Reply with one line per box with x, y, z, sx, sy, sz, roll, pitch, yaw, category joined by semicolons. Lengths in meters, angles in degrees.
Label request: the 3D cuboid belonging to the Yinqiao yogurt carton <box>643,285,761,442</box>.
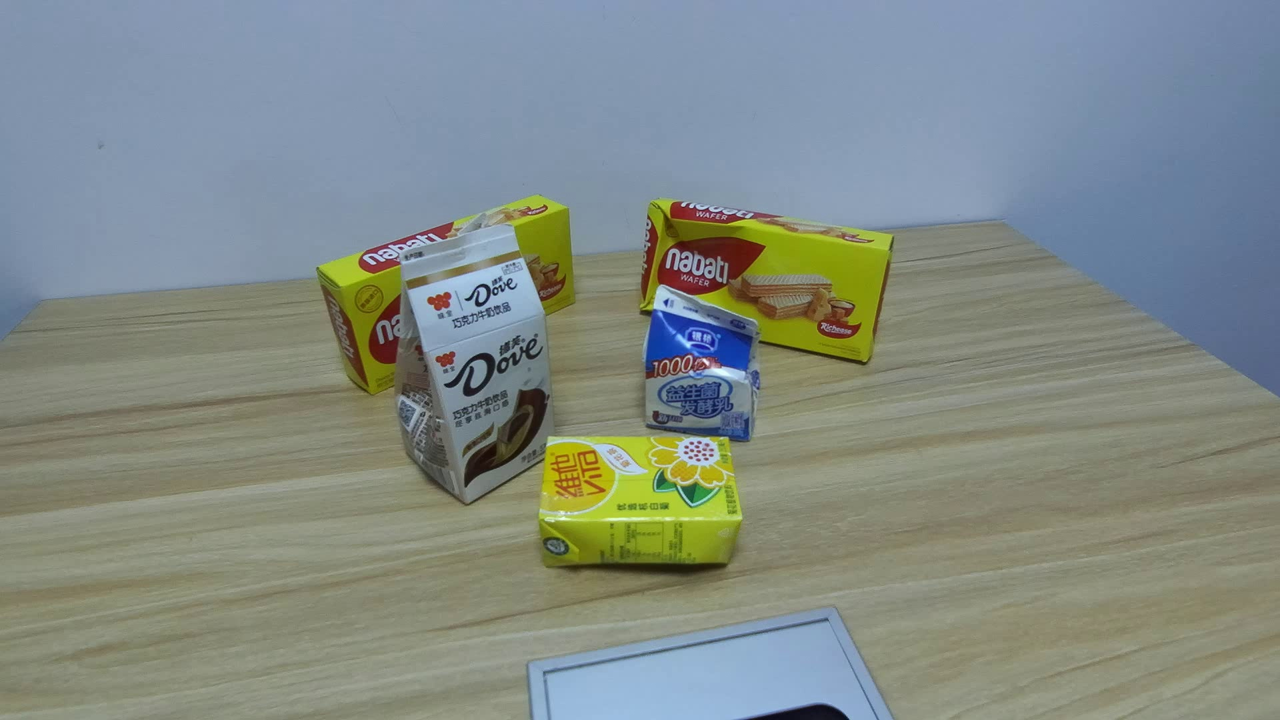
0.043;-0.007;0.482;0.083;0.093;0.077;8;35;11;Yinqiao yogurt carton

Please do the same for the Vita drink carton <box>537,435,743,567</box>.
-0.001;0.082;0.399;0.109;0.043;0.076;0;37;-2;Vita drink carton

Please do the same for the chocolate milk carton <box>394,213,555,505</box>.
-0.107;-0.003;0.426;0.084;0.155;0.072;-29;44;-36;chocolate milk carton

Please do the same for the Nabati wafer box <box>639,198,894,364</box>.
0.095;-0.067;0.573;0.202;0.096;0.042;14;25;19;Nabati wafer box

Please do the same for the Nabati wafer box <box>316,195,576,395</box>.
-0.142;-0.059;0.568;0.203;0.093;0.042;-28;43;-34;Nabati wafer box
